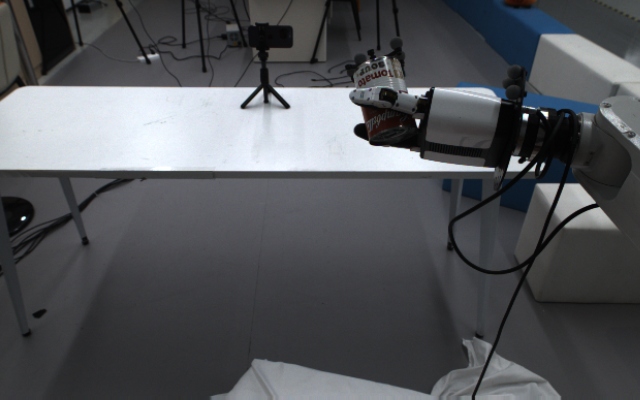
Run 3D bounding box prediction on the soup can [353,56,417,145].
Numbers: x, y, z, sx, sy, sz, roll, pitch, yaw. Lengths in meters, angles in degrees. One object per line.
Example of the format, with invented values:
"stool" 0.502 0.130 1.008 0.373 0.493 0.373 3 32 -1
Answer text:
"soup can" 0.087 -0.134 0.659 0.067 0.067 0.101 -9 79 -16
